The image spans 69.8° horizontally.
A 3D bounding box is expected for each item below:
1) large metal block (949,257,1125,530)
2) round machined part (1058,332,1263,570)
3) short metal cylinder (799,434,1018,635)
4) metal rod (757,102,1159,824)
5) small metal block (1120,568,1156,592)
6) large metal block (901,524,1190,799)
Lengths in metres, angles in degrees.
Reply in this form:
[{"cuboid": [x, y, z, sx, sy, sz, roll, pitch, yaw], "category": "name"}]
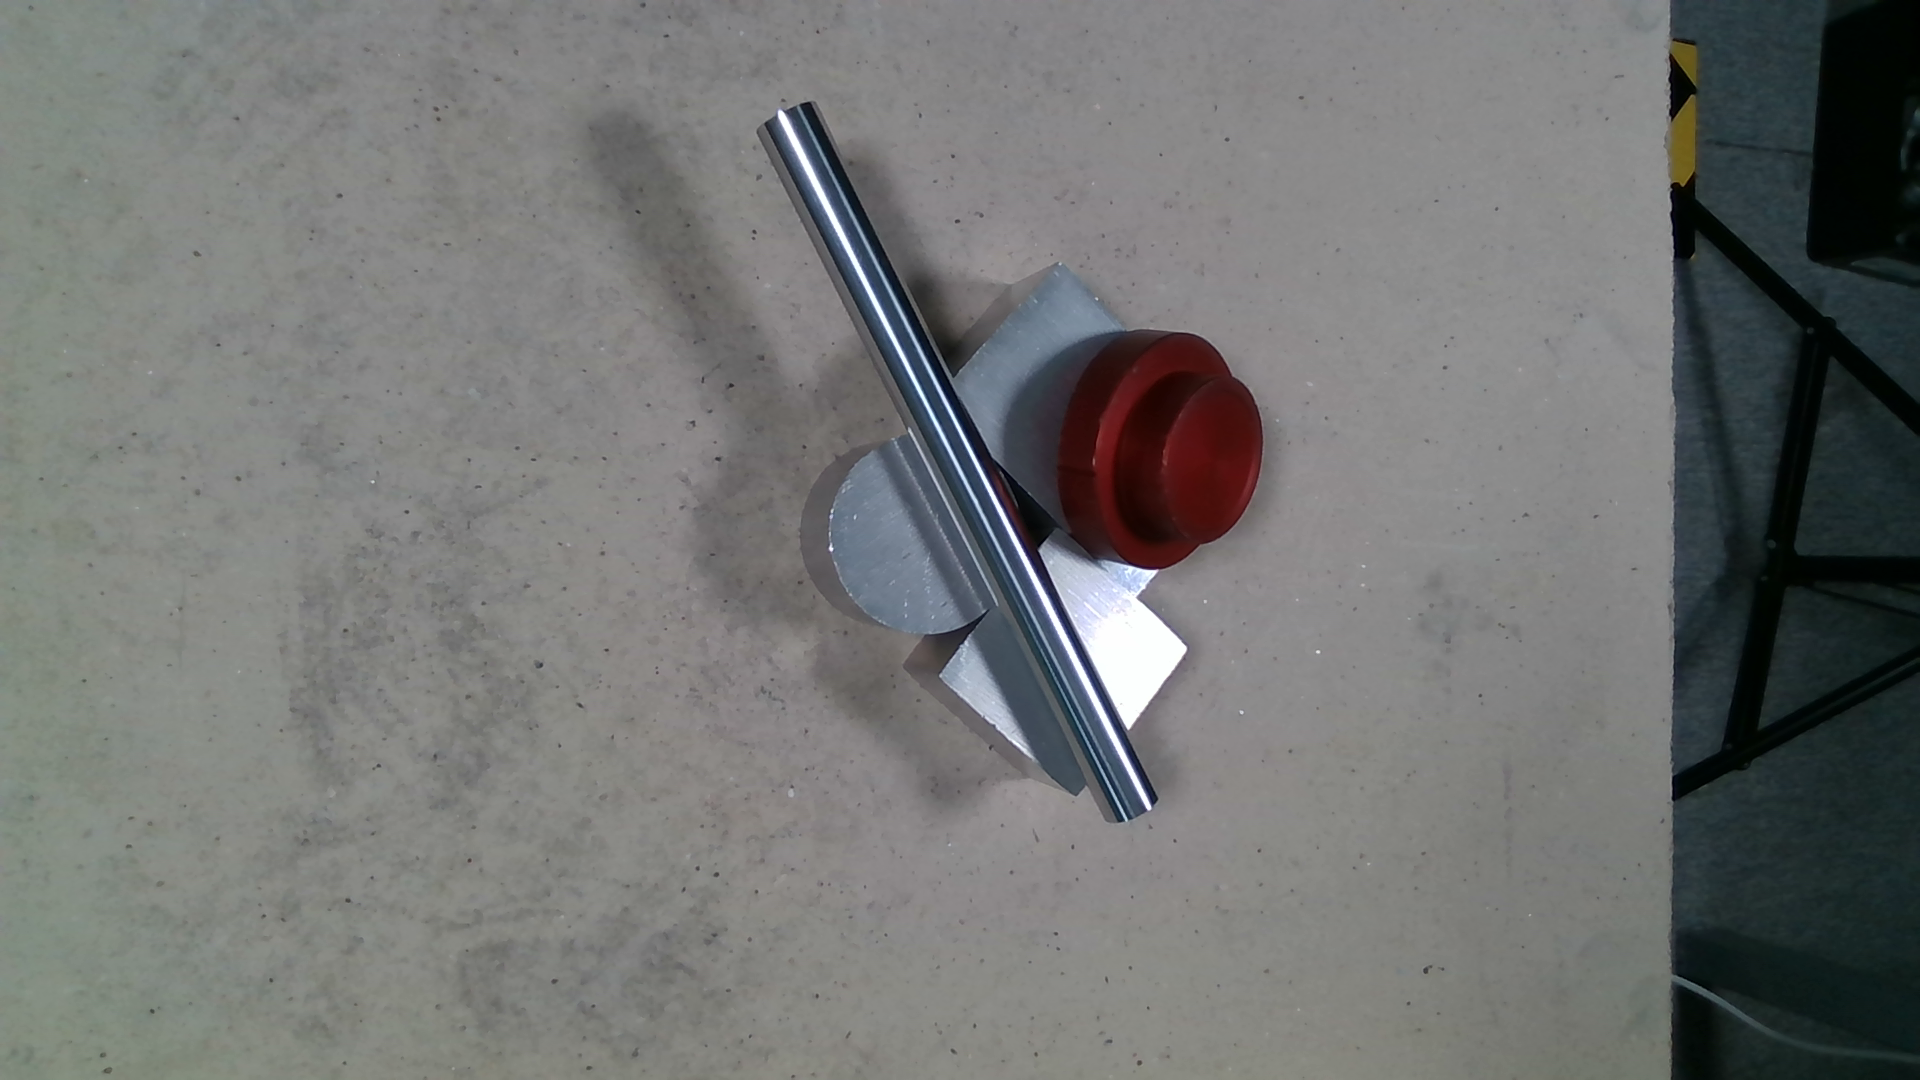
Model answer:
[{"cuboid": [0.034, -0.059, 0.584, 0.080, 0.050, 0.080, 44, 76, -15], "category": "large metal block"}, {"cuboid": [0.087, -0.035, 0.562, 0.098, 0.042, 0.098, -15, 112, -43], "category": "round machined part"}, {"cuboid": [-0.021, -0.003, 0.564, 0.080, 0.050, 0.080, 0, 90, -20], "category": "short metal cylinder"}, {"cuboid": [0.003, -0.024, 0.533, 0.025, 0.025, 0.300, -30, 100, -18], "category": "metal rod"}, {"cuboid": [0.068, -0.004, 0.610, 0.050, 0.025, 0.050, 44, 76, -15], "category": "small metal block"}, {"cuboid": [0.036, 0.050, 0.586, 0.080, 0.050, 0.080, 43, 76, -15], "category": "large metal block"}]
